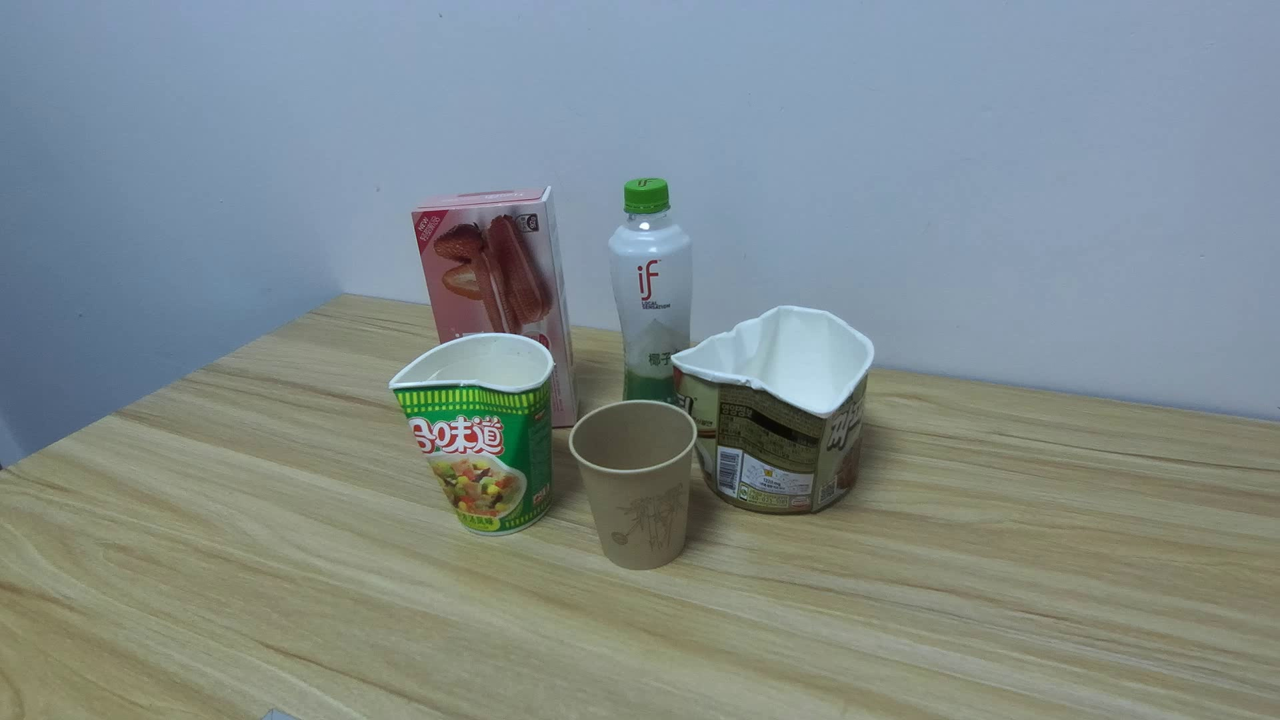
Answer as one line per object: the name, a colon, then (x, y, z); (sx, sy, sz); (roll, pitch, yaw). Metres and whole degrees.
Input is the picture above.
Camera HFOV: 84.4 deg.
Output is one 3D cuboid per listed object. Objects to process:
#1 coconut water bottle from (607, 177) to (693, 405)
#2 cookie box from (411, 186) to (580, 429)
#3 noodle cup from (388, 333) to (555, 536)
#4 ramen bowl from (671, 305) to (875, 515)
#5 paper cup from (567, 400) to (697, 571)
coconut water bottle: (0.011, -0.037, 0.527); (0.063, 0.189, 0.063); (-3, 24, 2)
cookie box: (-0.105, -0.034, 0.547); (0.096, 0.185, 0.048); (-4, 24, 3)
noodle cup: (-0.095, 0.051, 0.470); (0.093, 0.109, 0.087); (13, 33, 30)
ramen bowl: (0.099, 0.028, 0.487); (0.113, 0.098, 0.134); (14, 35, 32)
paper cup: (-0.001, 0.078, 0.428); (0.075, 0.082, 0.075); (-4, 29, 2)
